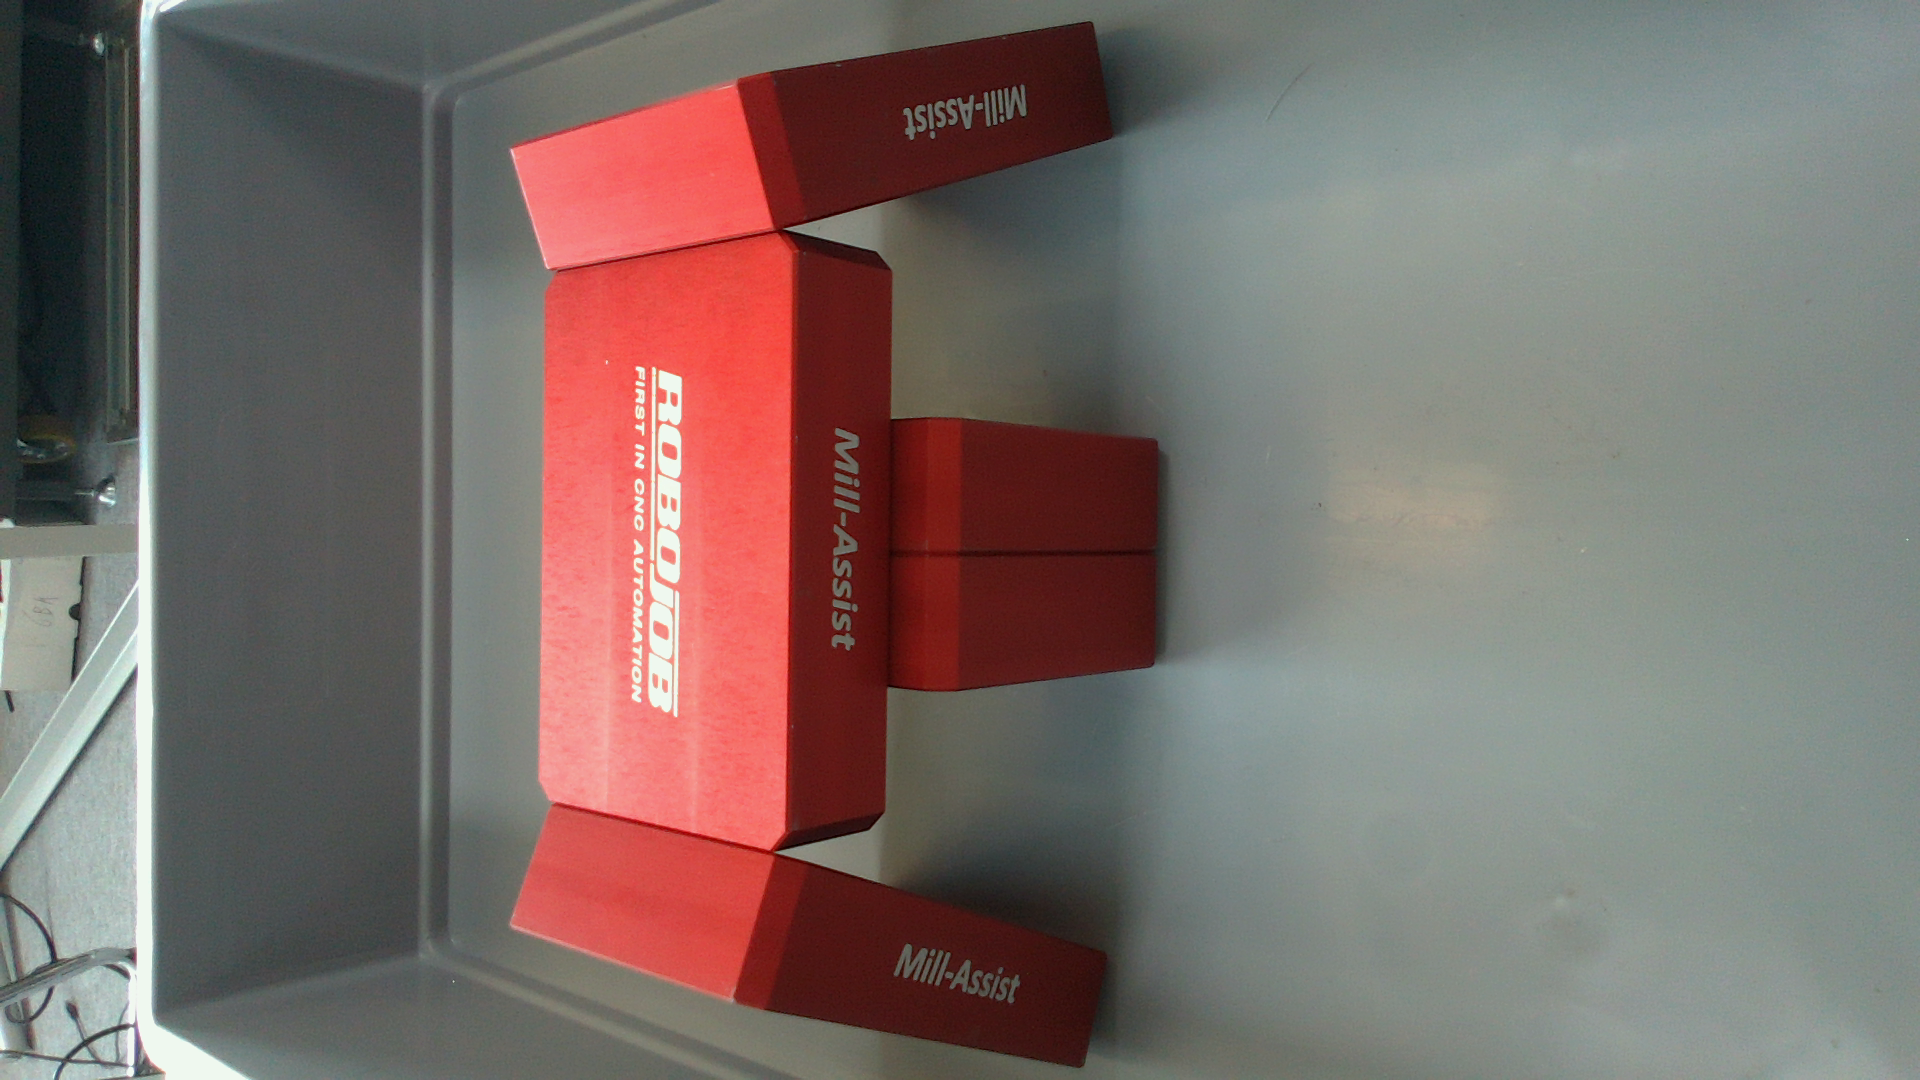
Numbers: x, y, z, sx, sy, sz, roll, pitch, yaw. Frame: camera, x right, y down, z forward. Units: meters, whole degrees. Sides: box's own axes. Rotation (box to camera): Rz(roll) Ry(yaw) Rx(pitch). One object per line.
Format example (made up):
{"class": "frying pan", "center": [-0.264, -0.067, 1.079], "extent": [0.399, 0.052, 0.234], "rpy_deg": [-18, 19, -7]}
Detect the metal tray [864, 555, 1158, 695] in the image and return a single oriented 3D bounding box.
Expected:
{"class": "metal tray", "center": [-0.024, 0.018, 0.372], "extent": [0.129, 0.090, 0.030], "rpy_deg": [1, 91, 40]}

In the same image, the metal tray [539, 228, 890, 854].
{"class": "metal tray", "center": [-0.060, 0.000, 0.322], "extent": [0.090, 0.030, 0.130], "rpy_deg": [1, 91, 39]}

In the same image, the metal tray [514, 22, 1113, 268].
{"class": "metal tray", "center": [-0.033, -0.102, 0.351], "extent": [0.090, 0.130, 0.030], "rpy_deg": [1, 111, 40]}

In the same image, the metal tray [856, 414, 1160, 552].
{"class": "metal tray", "center": [-0.023, -0.013, 0.371], "extent": [0.129, 0.090, 0.030], "rpy_deg": [1, 91, 40]}

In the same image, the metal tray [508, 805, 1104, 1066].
{"class": "metal tray", "center": [-0.035, 0.102, 0.352], "extent": [0.090, 0.130, 0.030], "rpy_deg": [1, 69, 40]}
